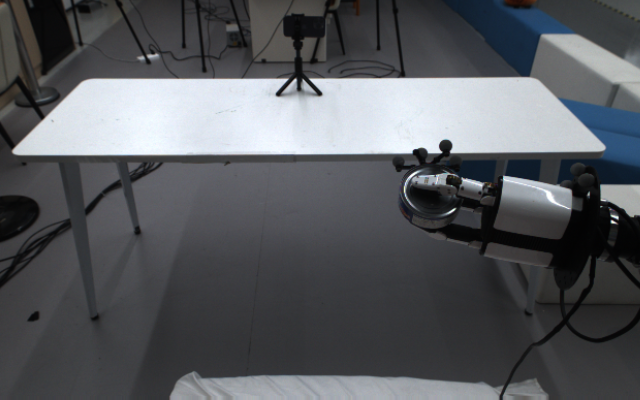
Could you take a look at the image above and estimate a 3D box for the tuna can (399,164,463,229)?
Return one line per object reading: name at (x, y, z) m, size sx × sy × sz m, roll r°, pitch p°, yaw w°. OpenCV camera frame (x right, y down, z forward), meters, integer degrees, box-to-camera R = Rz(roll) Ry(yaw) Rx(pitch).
tuna can at (0.149, -0.006, 0.654) m, size 0.085 × 0.034 × 0.085 m, roll -2°, pitch 58°, yaw 3°
